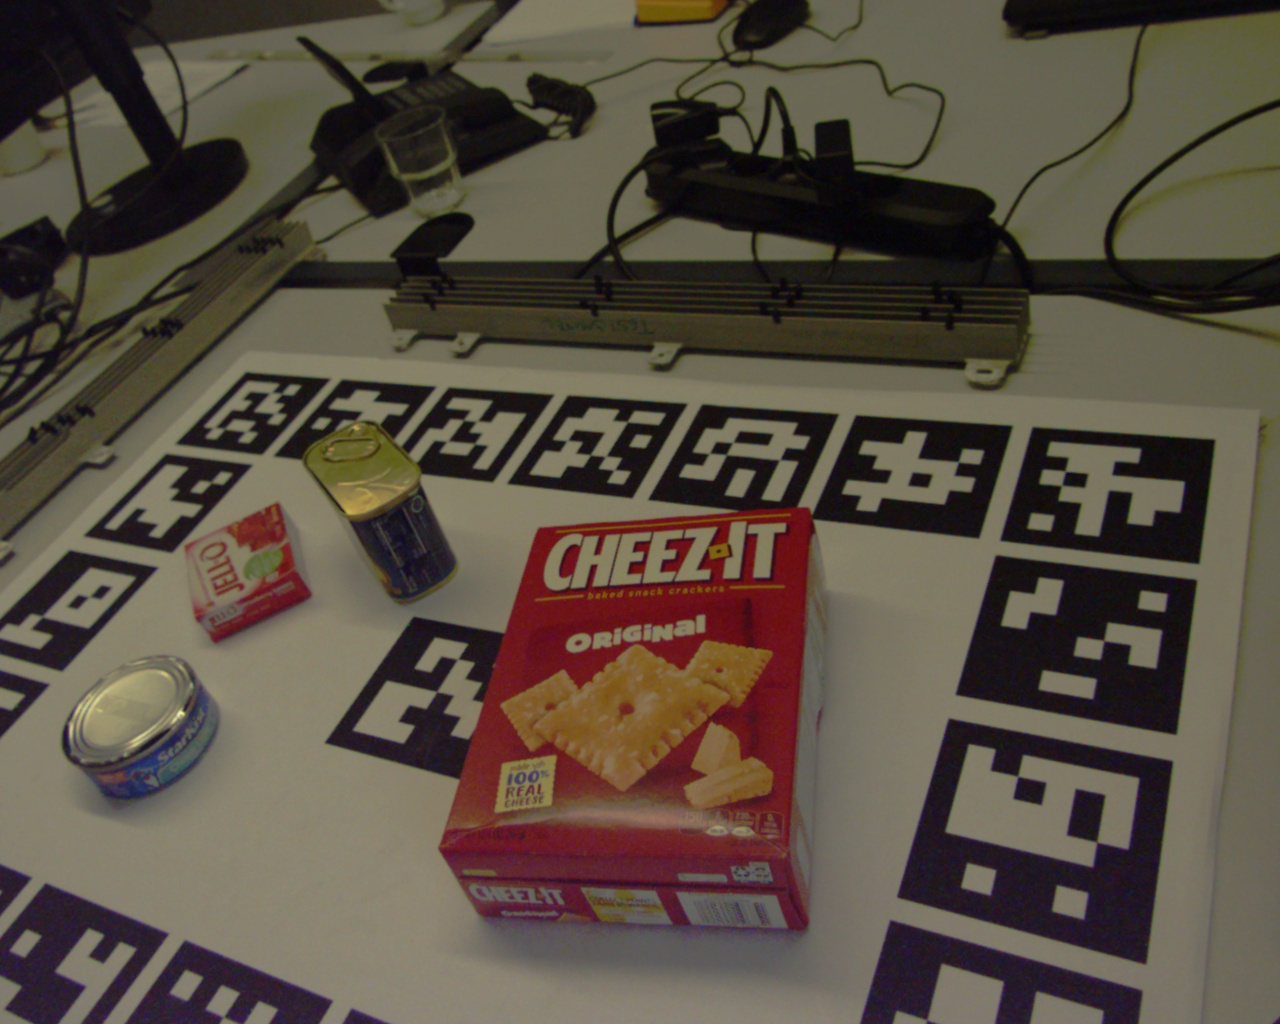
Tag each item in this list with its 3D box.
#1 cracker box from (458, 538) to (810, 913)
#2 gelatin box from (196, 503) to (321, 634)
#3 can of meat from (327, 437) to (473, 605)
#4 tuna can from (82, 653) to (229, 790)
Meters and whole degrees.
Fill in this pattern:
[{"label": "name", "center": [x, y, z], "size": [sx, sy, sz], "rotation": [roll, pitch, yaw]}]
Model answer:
[{"label": "cracker box", "center": [0.007, 0.109, 0.633], "size": [0.165, 0.071, 0.214], "rotation": [-4, 40, 13]}, {"label": "gelatin box", "center": [-0.283, 0.039, 0.842], "size": [0.073, 0.030, 0.090], "rotation": [-23, 42, -12]}, {"label": "can of meat", "center": [-0.168, 0.008, 0.808], "size": [0.057, 0.083, 0.103], "rotation": [-32, 41, -19]}, {"label": "tuna can", "center": [-0.311, 0.135, 0.735], "size": [0.086, 0.033, 0.086], "rotation": [-12, 42, 10]}]
